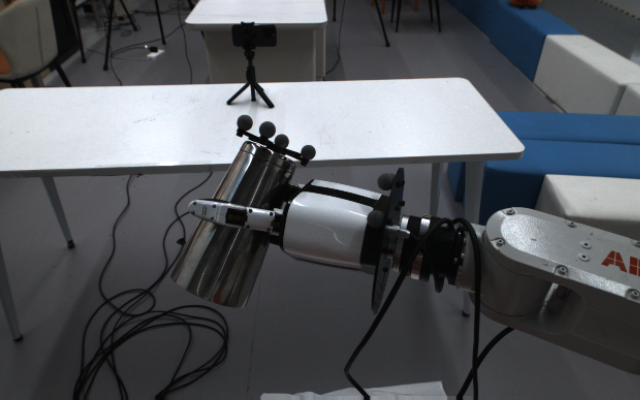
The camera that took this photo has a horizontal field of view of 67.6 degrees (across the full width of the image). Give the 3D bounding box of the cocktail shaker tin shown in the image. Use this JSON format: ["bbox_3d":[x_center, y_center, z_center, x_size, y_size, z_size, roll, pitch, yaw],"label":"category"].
[{"bbox_3d":[-0.088,0.023,0.549,0.093,0.170,0.093,23,0,0],"label":"cocktail shaker tin"}]
